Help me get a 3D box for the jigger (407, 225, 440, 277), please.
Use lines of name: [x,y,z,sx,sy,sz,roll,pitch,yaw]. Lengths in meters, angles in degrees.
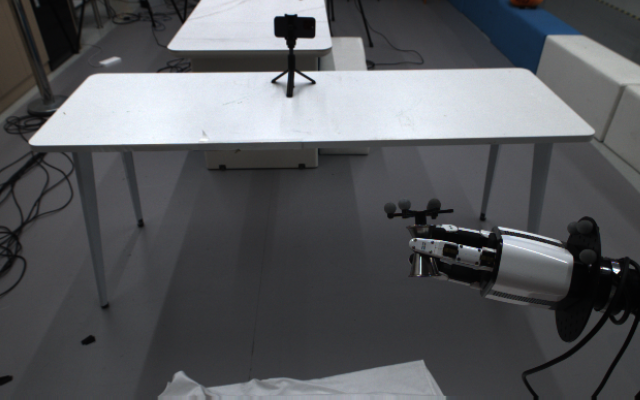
jigger: [0.138,0.067,0.651,0.043,0.071,0.043,-2,-7,0]
